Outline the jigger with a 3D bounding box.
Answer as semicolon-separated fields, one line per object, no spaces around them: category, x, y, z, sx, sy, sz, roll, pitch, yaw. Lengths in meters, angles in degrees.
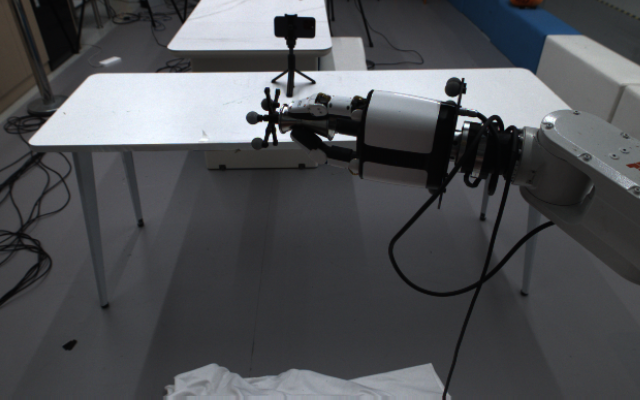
jigger;-0.010;-0.109;0.636;0.071;0.043;0.043;8;35;14
